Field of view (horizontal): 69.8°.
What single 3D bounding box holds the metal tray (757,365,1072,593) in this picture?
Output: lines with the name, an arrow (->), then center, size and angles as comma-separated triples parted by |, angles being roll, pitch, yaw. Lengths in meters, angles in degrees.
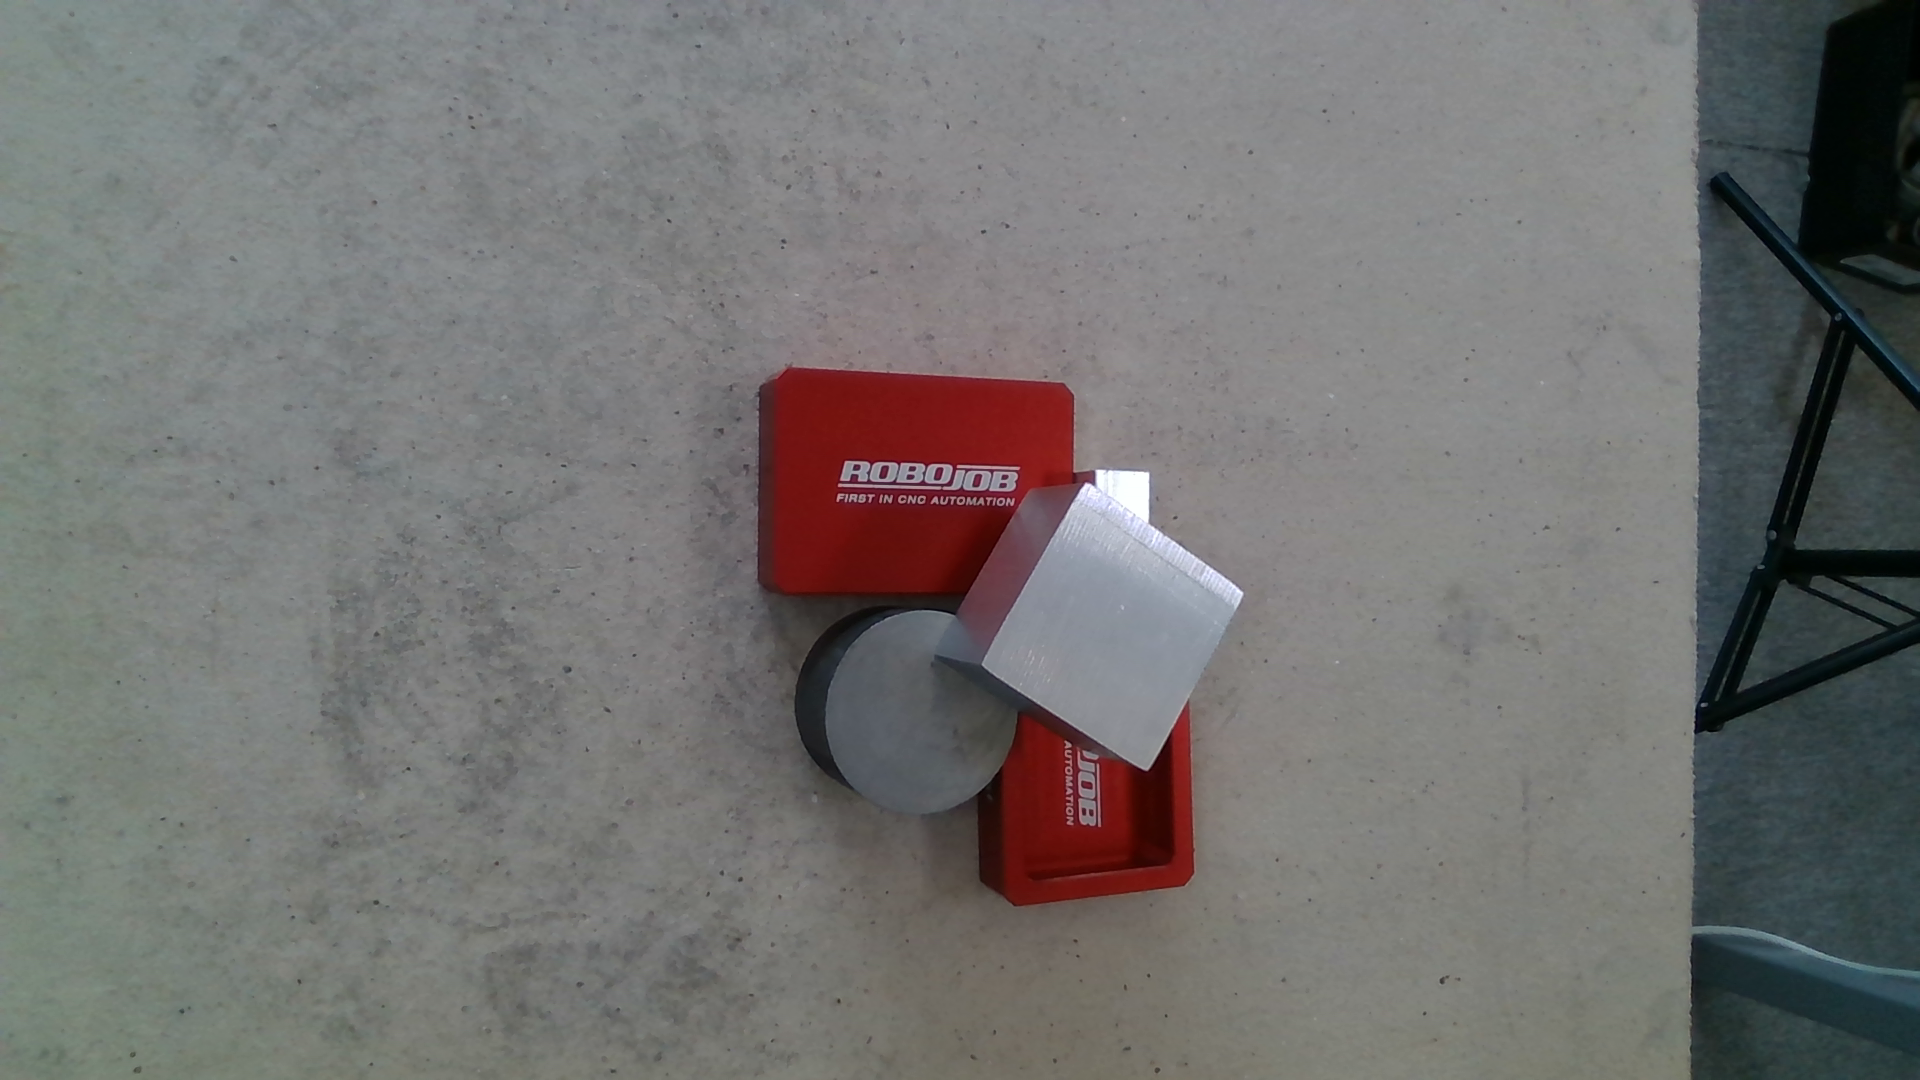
metal tray -> -0.018, -0.023, 0.578 | 0.130, 0.030, 0.090 | 1, 90, -20

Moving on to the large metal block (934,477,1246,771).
large metal block -> 0.050, 0.032, 0.537 | 0.080, 0.050, 0.080 | 34, 79, -17

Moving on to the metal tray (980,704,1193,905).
metal tray -> 0.054, 0.087, 0.604 | 0.090, 0.030, 0.130 | -2, 91, -20

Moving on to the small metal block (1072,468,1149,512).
small metal block -> 0.058, -0.005, 0.595 | 0.025, 0.050, 0.050 | 1, 90, -20

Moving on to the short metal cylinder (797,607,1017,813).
short metal cylinder -> -0.023, 0.067, 0.565 | 0.080, 0.050, 0.080 | 0, 90, -20
